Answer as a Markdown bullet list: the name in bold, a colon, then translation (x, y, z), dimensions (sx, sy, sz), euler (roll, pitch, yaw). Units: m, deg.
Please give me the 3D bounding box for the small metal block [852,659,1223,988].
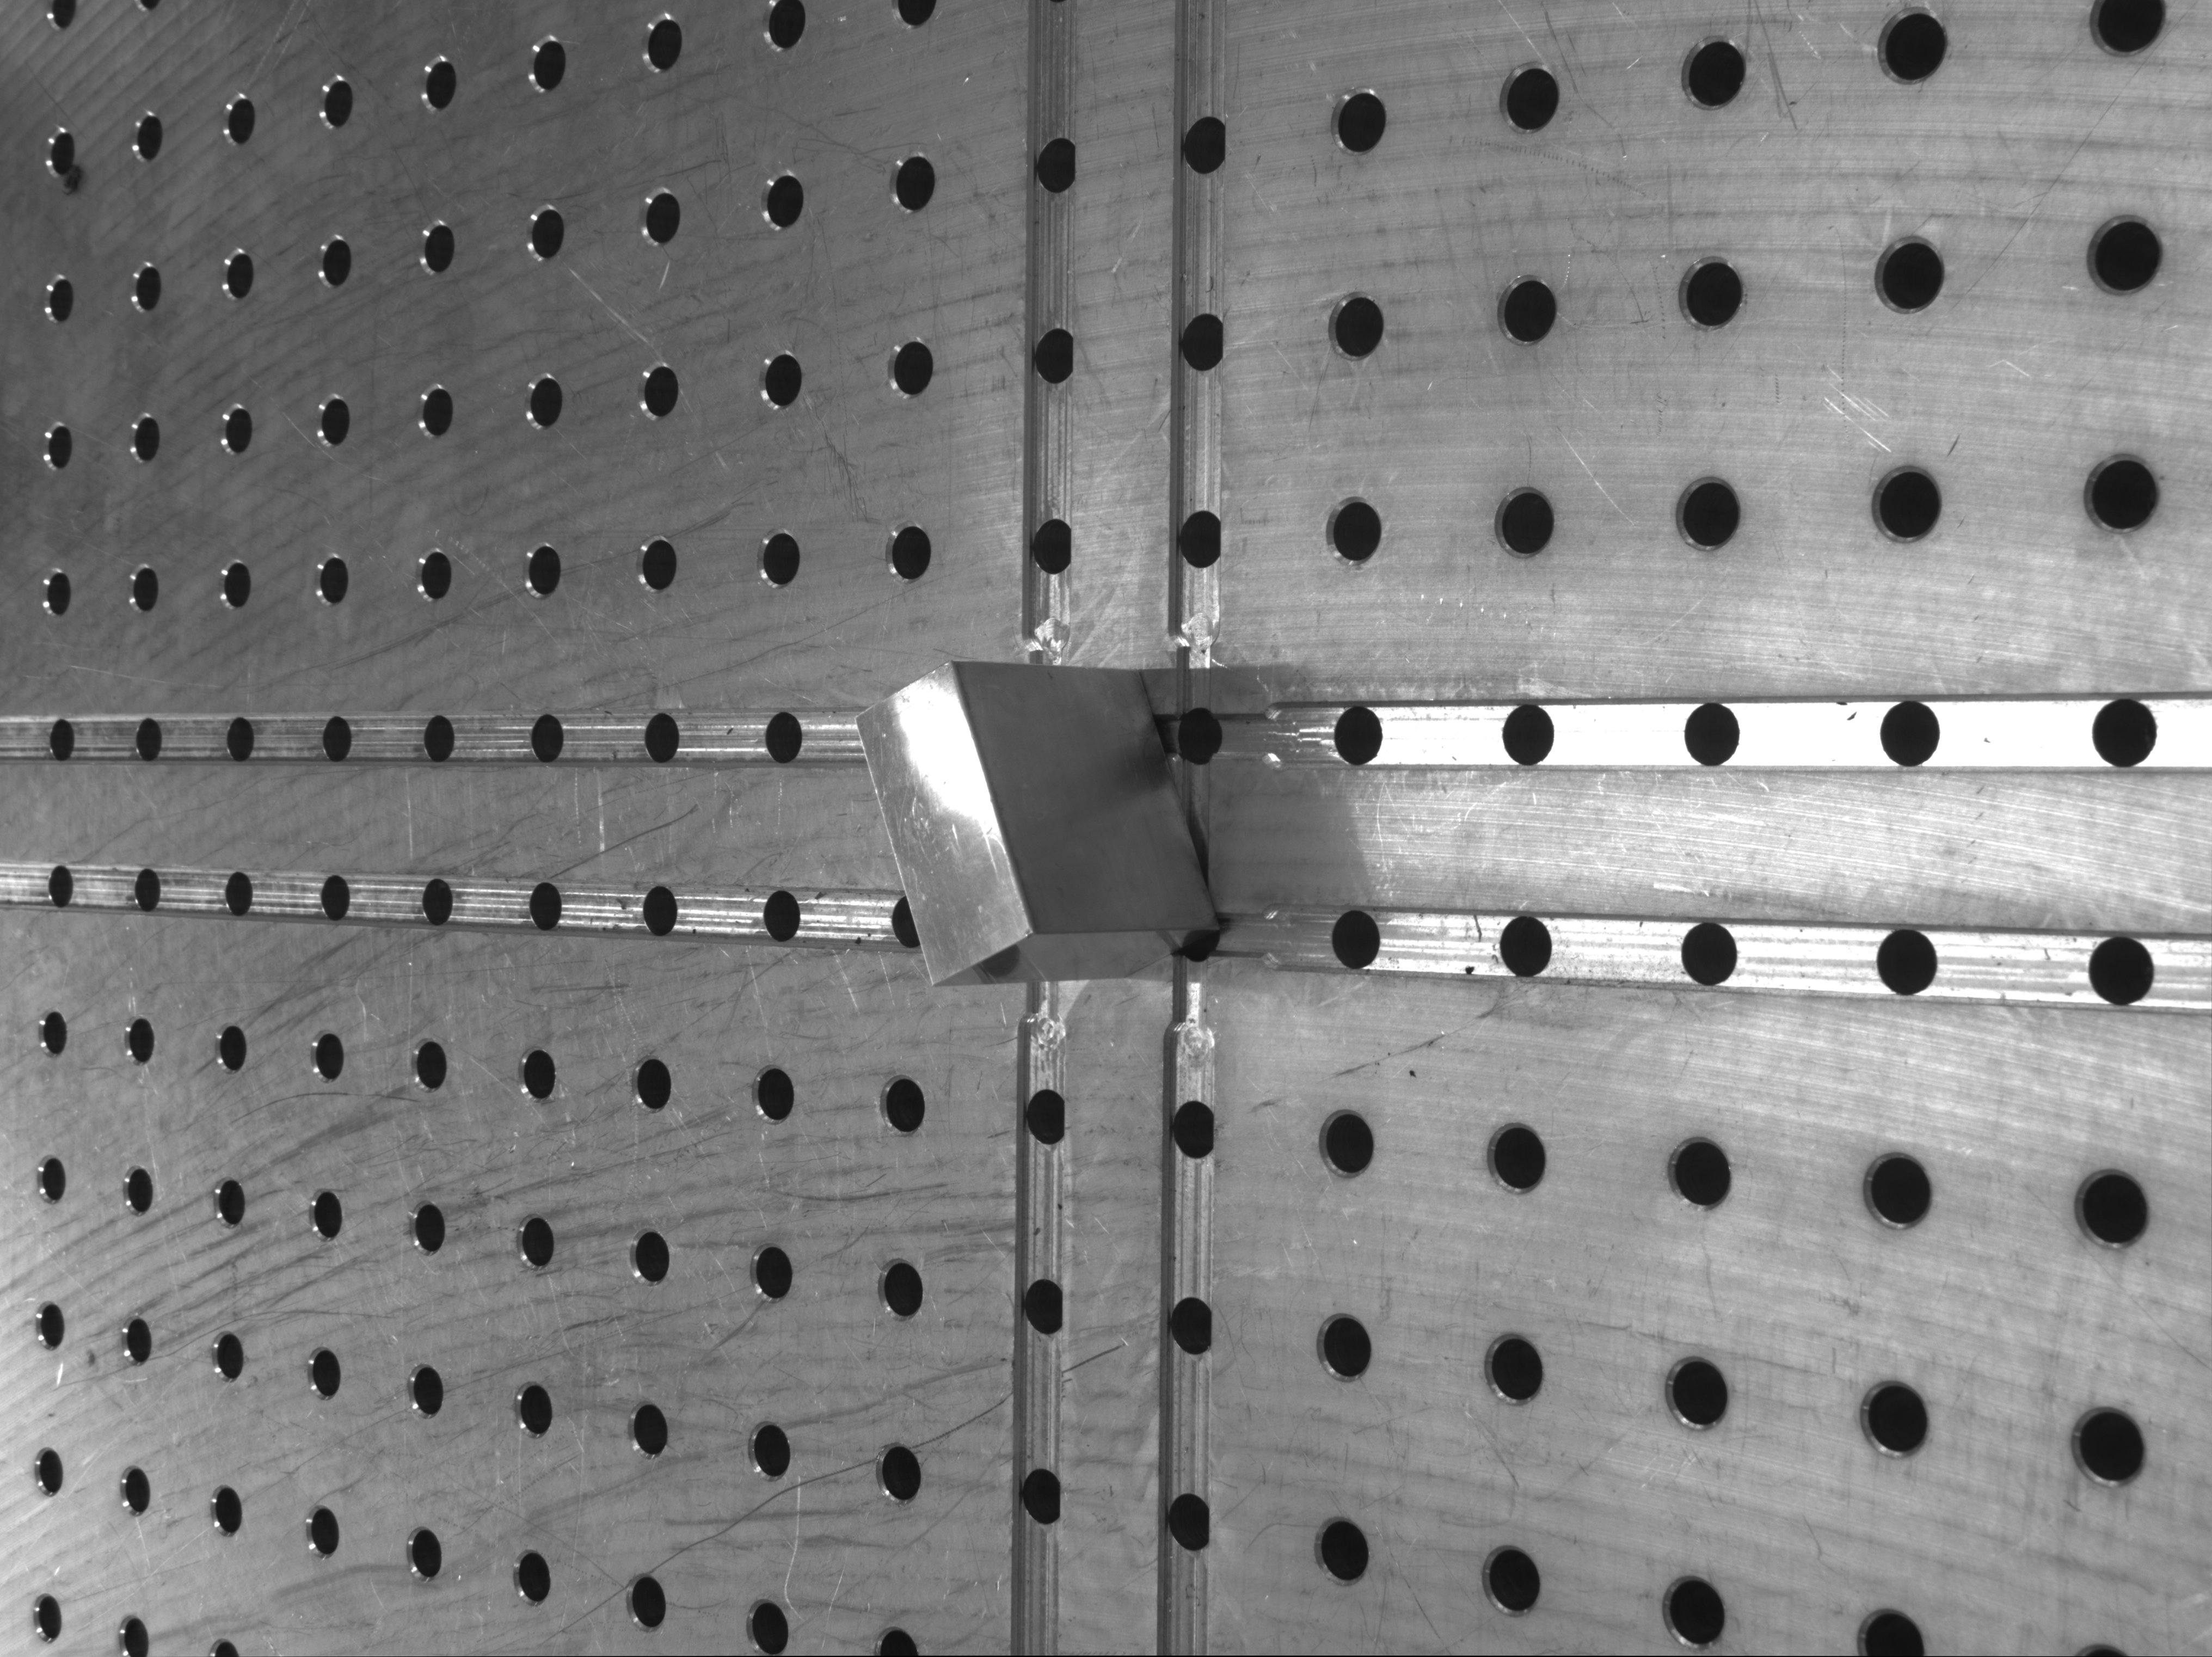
- **small metal block**: translation (-0.012, -0.001, 0.642), dimensions (0.025, 0.050, 0.050), euler (-28, 72, 37)
